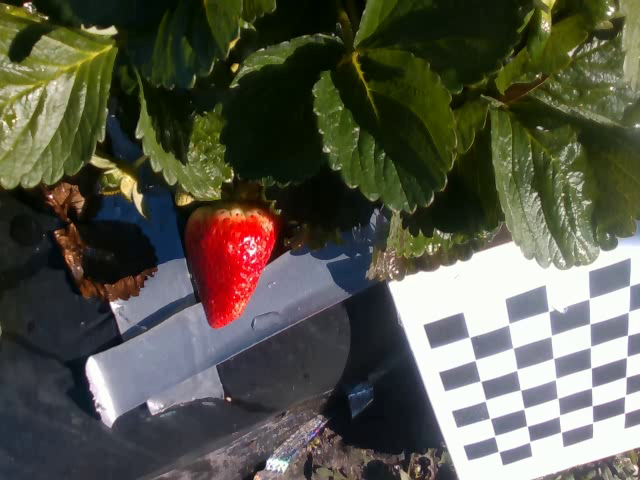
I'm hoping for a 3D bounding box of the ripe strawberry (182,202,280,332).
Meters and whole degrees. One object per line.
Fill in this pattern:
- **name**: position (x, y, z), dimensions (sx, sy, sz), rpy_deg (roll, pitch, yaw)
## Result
- **ripe strawberry**: position (-0.045, 0.017, 0.332), dimensions (0.061, 0.065, 0.057), rpy_deg (5, -5, -18)
